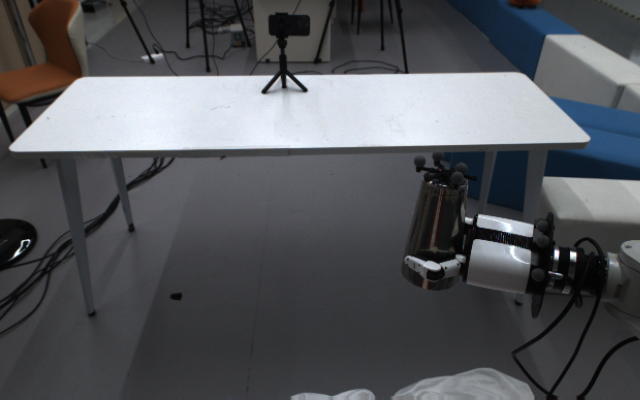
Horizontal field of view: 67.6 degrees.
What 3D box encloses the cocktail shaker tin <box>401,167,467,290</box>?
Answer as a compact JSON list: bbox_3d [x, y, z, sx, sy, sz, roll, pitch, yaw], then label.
[{"bbox_3d":[0.181,0.042,0.747,0.093,0.170,0.093,1,28,-1],"label":"cocktail shaker tin"}]
